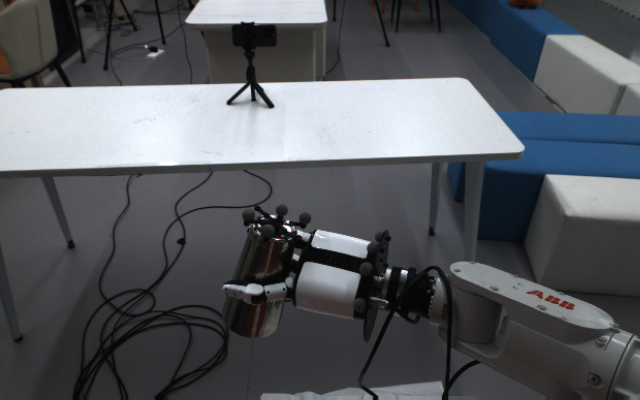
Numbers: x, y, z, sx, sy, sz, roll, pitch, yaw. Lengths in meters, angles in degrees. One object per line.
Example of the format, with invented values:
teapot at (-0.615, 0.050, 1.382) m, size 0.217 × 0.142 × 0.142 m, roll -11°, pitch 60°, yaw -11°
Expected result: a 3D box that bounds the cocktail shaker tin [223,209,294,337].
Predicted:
cocktail shaker tin at (-0.083, 0.108, 0.712) m, size 0.093 × 0.170 × 0.093 m, roll 12°, pitch 29°, yaw -7°
